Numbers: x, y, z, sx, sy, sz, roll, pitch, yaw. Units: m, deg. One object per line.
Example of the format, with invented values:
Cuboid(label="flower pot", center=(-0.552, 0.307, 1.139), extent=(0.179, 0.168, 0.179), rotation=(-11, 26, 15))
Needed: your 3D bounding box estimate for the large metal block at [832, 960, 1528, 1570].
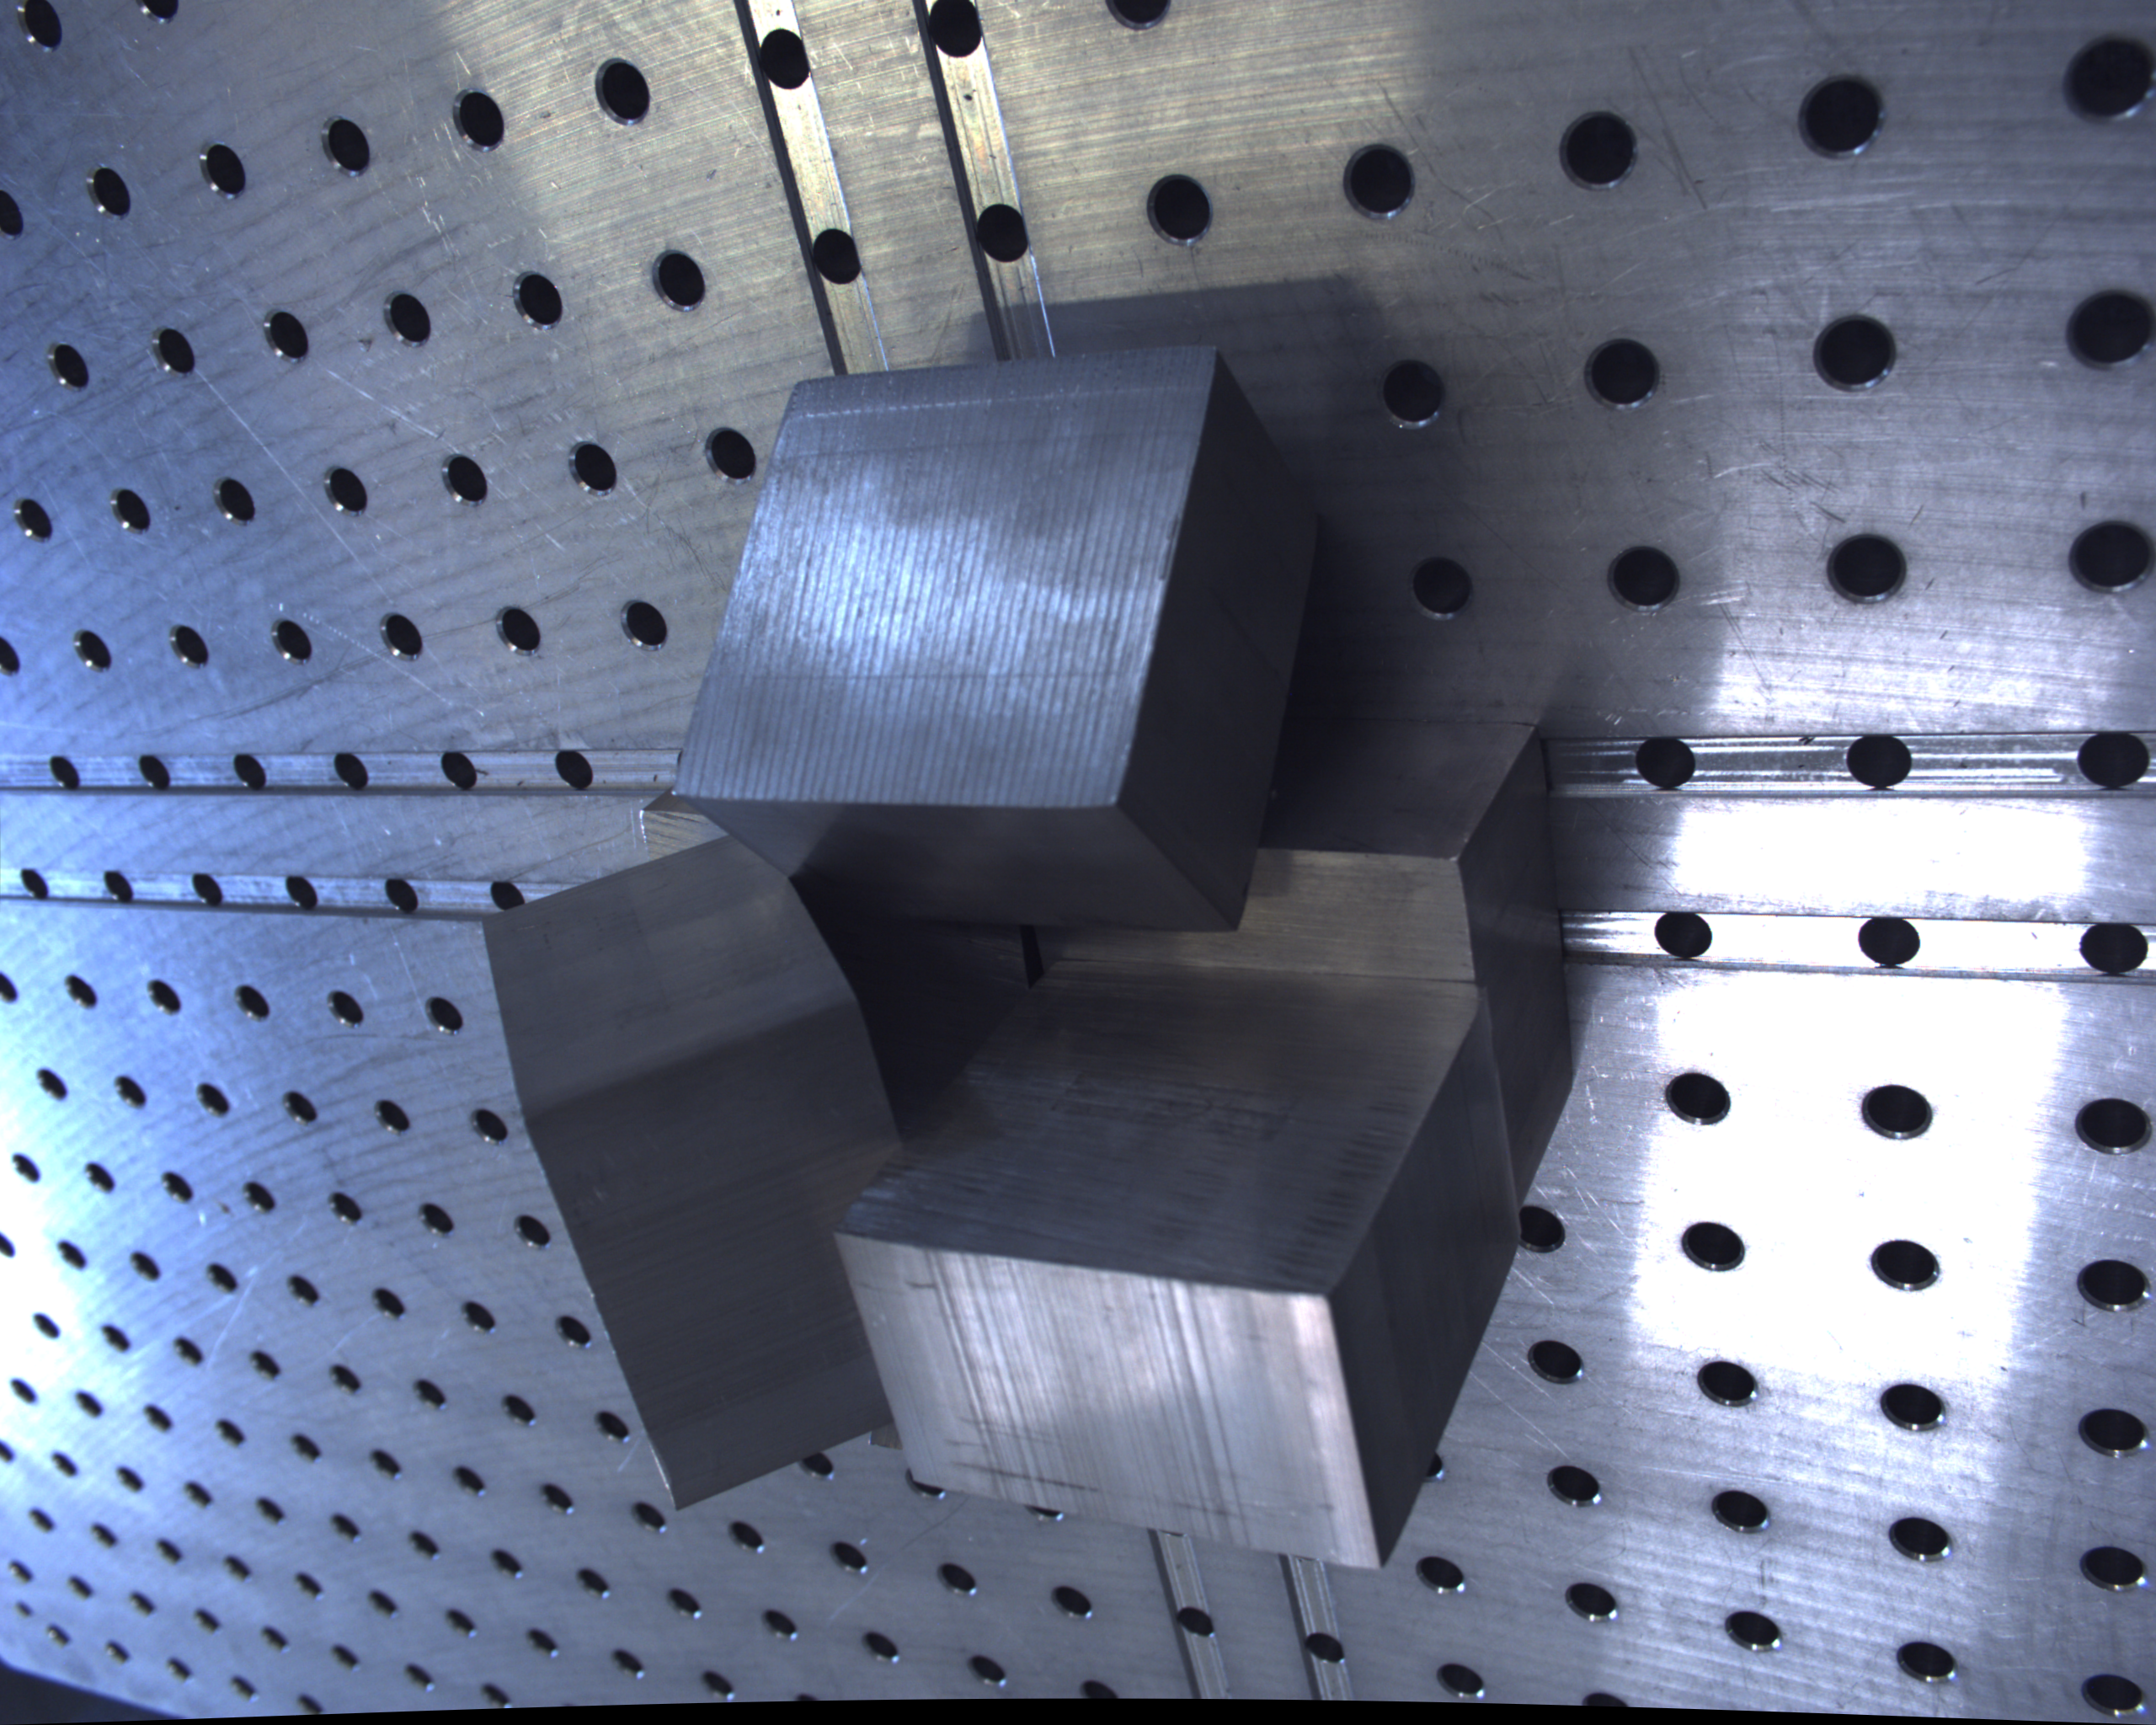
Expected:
Cuboid(label="large metal block", center=(0.020, 0.059, 0.337), extent=(0.080, 0.080, 0.050), rotation=(2, 119, 27))

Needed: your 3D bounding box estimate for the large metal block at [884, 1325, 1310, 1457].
Cuboid(label="large metal block", center=(0.017, 0.100, 0.422), extent=(0.080, 0.050, 0.080), rotation=(2, 164, 27))

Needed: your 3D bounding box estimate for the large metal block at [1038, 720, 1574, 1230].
Cuboid(label="large metal block", center=(0.043, 0.020, 0.385), extent=(0.080, 0.050, 0.080), rotation=(3, 120, 27))

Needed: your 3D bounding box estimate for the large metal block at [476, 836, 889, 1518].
Cuboid(label="large metal block", center=(-0.064, 0.050, 0.366), extent=(0.050, 0.080, 0.080), rotation=(-20, 117, -13))

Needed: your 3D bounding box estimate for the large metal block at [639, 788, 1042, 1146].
Cuboid(label="large metal block", center=(-0.033, 0.016, 0.423), extent=(0.080, 0.050, 0.080), rotation=(7, 122, 25))

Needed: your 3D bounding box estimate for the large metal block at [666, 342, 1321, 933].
Cuboid(label="large metal block", center=(-0.012, -0.036, 0.350), extent=(0.080, 0.080, 0.050), rotation=(2, 158, 27))
